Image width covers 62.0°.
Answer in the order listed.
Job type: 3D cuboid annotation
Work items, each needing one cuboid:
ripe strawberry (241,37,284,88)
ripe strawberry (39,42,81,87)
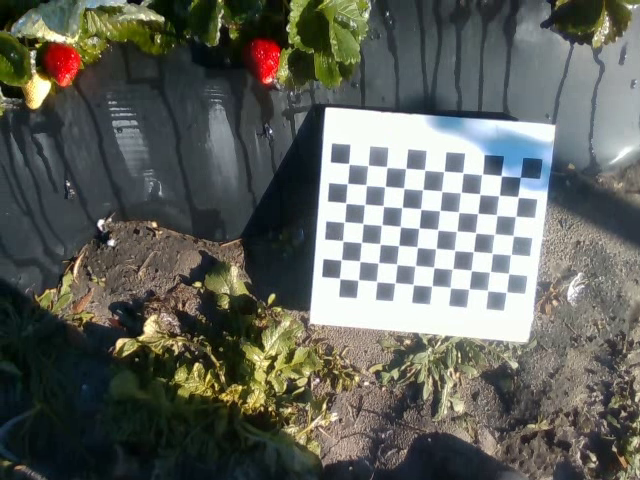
[{"bbox_3d":[-0.055,-0.170,0.510,0.041,0.053,0.047,-2,-32,0],"label":"ripe strawberry"},{"bbox_3d":[-0.251,-0.166,0.511,0.037,0.051,0.040,-10,-42,2],"label":"ripe strawberry"}]
